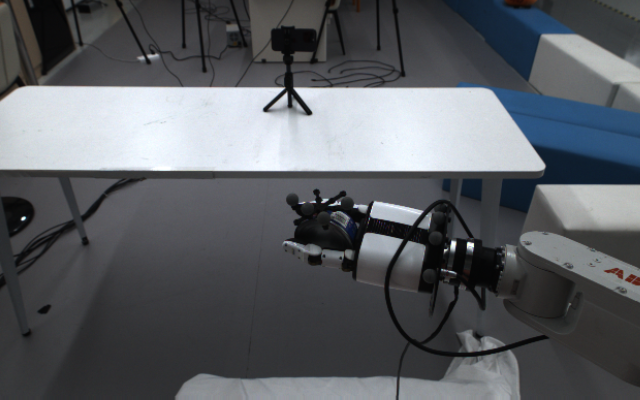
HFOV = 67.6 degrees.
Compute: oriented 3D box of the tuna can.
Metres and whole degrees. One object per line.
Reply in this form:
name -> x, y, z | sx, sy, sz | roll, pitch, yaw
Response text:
tuna can -> 0.012, 0.048, 0.673 | 0.085, 0.085, 0.034 | 14, 41, 16
